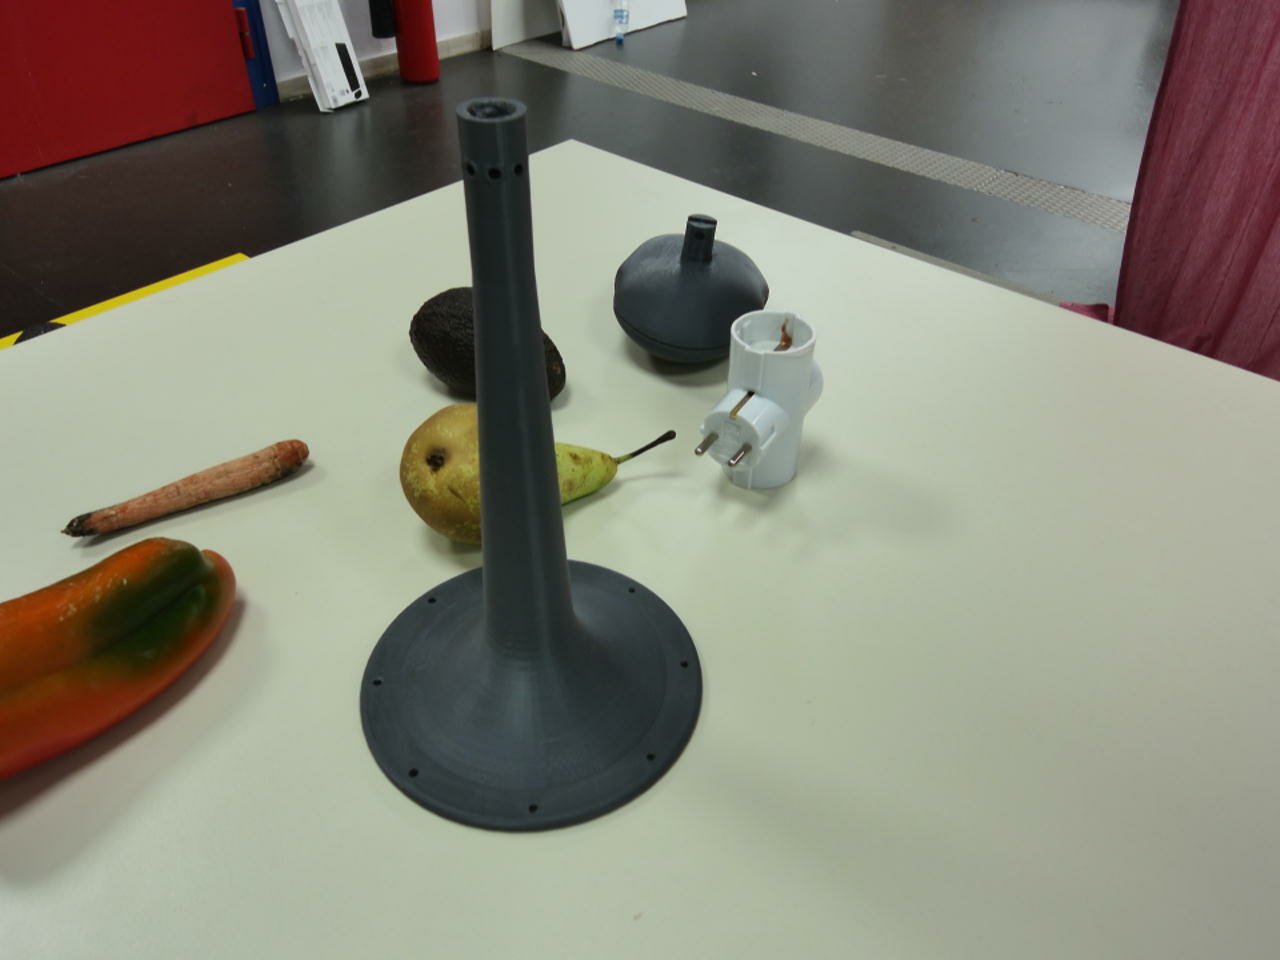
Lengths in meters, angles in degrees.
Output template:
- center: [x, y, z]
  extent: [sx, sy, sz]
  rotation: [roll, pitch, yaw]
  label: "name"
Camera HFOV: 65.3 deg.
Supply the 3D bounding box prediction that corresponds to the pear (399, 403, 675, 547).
- center: [-0.057, -0.017, 0.519]
  extent: [0.144, 0.075, 0.071]
  rotation: [-29, 46, -33]
  label: "pear"
